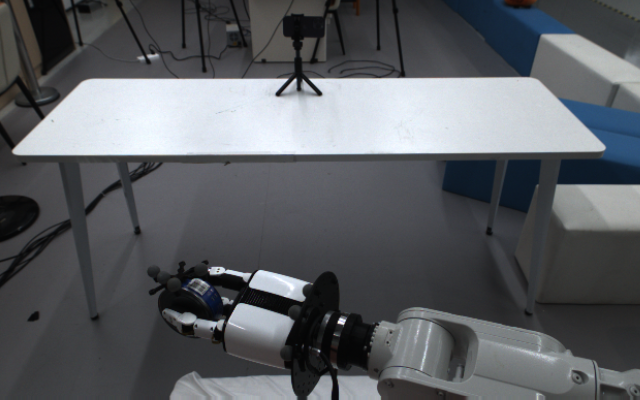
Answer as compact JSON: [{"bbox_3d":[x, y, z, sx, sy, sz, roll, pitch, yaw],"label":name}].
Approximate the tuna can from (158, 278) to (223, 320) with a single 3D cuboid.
[{"bbox_3d":[-0.171,0.150,0.669,0.085,0.085,0.034,13,28,15],"label":"tuna can"}]
